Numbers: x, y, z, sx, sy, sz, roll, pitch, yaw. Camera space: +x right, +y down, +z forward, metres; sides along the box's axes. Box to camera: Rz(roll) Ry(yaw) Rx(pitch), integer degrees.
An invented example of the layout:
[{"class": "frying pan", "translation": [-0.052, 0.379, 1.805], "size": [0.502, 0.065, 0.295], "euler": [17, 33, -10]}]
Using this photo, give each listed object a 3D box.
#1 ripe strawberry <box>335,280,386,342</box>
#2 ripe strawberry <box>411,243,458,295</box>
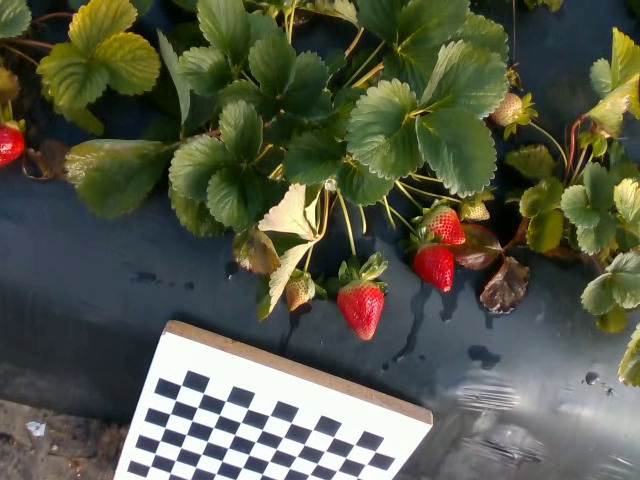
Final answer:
[{"class": "ripe strawberry", "translation": [0.041, 0.070, 0.607], "size": [0.050, 0.065, 0.050], "euler": [-12, -25, 16]}, {"class": "ripe strawberry", "translation": [0.116, 0.031, 0.621], "size": [0.044, 0.055, 0.041], "euler": [-35, -29, 26]}]
